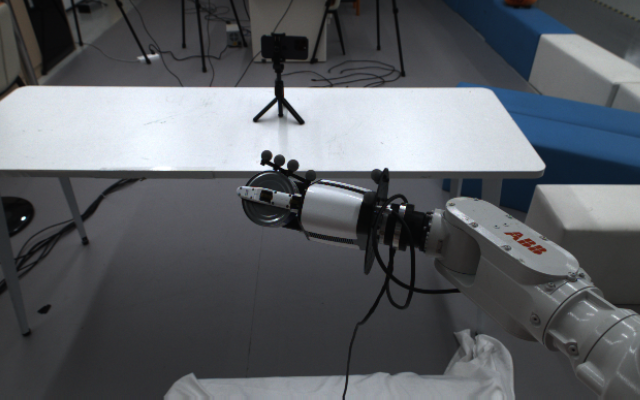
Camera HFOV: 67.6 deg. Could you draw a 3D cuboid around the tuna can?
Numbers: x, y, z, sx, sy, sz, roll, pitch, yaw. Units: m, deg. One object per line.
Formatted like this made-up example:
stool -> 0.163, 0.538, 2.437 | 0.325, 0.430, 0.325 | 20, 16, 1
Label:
tuna can -> -0.072, -0.001, 0.741 | 0.085, 0.085, 0.034 | 13, -6, 16
